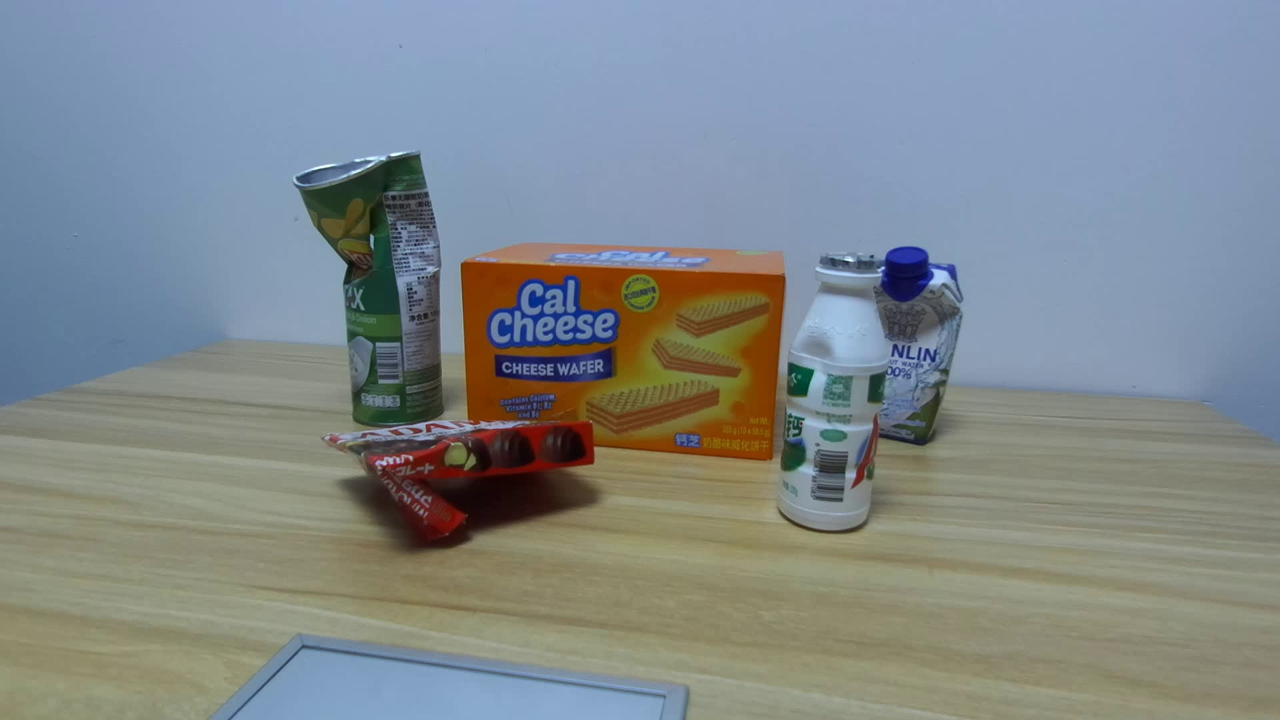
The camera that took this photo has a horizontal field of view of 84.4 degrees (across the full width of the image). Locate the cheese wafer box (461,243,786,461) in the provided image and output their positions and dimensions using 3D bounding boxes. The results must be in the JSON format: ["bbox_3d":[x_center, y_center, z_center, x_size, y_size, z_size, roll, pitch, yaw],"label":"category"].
[{"bbox_3d":[-0.002,-0.017,0.542,0.221,0.129,0.148,4,16,10],"label":"cheese wafer box"}]

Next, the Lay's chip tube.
[{"bbox_3d":[-0.193,-0.048,0.523,0.079,0.199,0.071,7,23,25],"label":"Lay's chip tube"}]

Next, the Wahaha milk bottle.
[{"bbox_3d":[0.105,0.023,0.382,0.053,0.136,0.053,1,16,0],"label":"Wahaha milk bottle"}]

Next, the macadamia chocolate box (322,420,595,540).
[{"bbox_3d":[-0.103,0.055,0.409,0.127,0.056,0.111,-10,19,-33],"label":"macadamia chocolate box"}]

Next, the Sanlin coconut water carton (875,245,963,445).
[{"bbox_3d":[0.192,-0.012,0.518,0.077,0.142,0.058,9,22,28],"label":"Sanlin coconut water carton"}]
